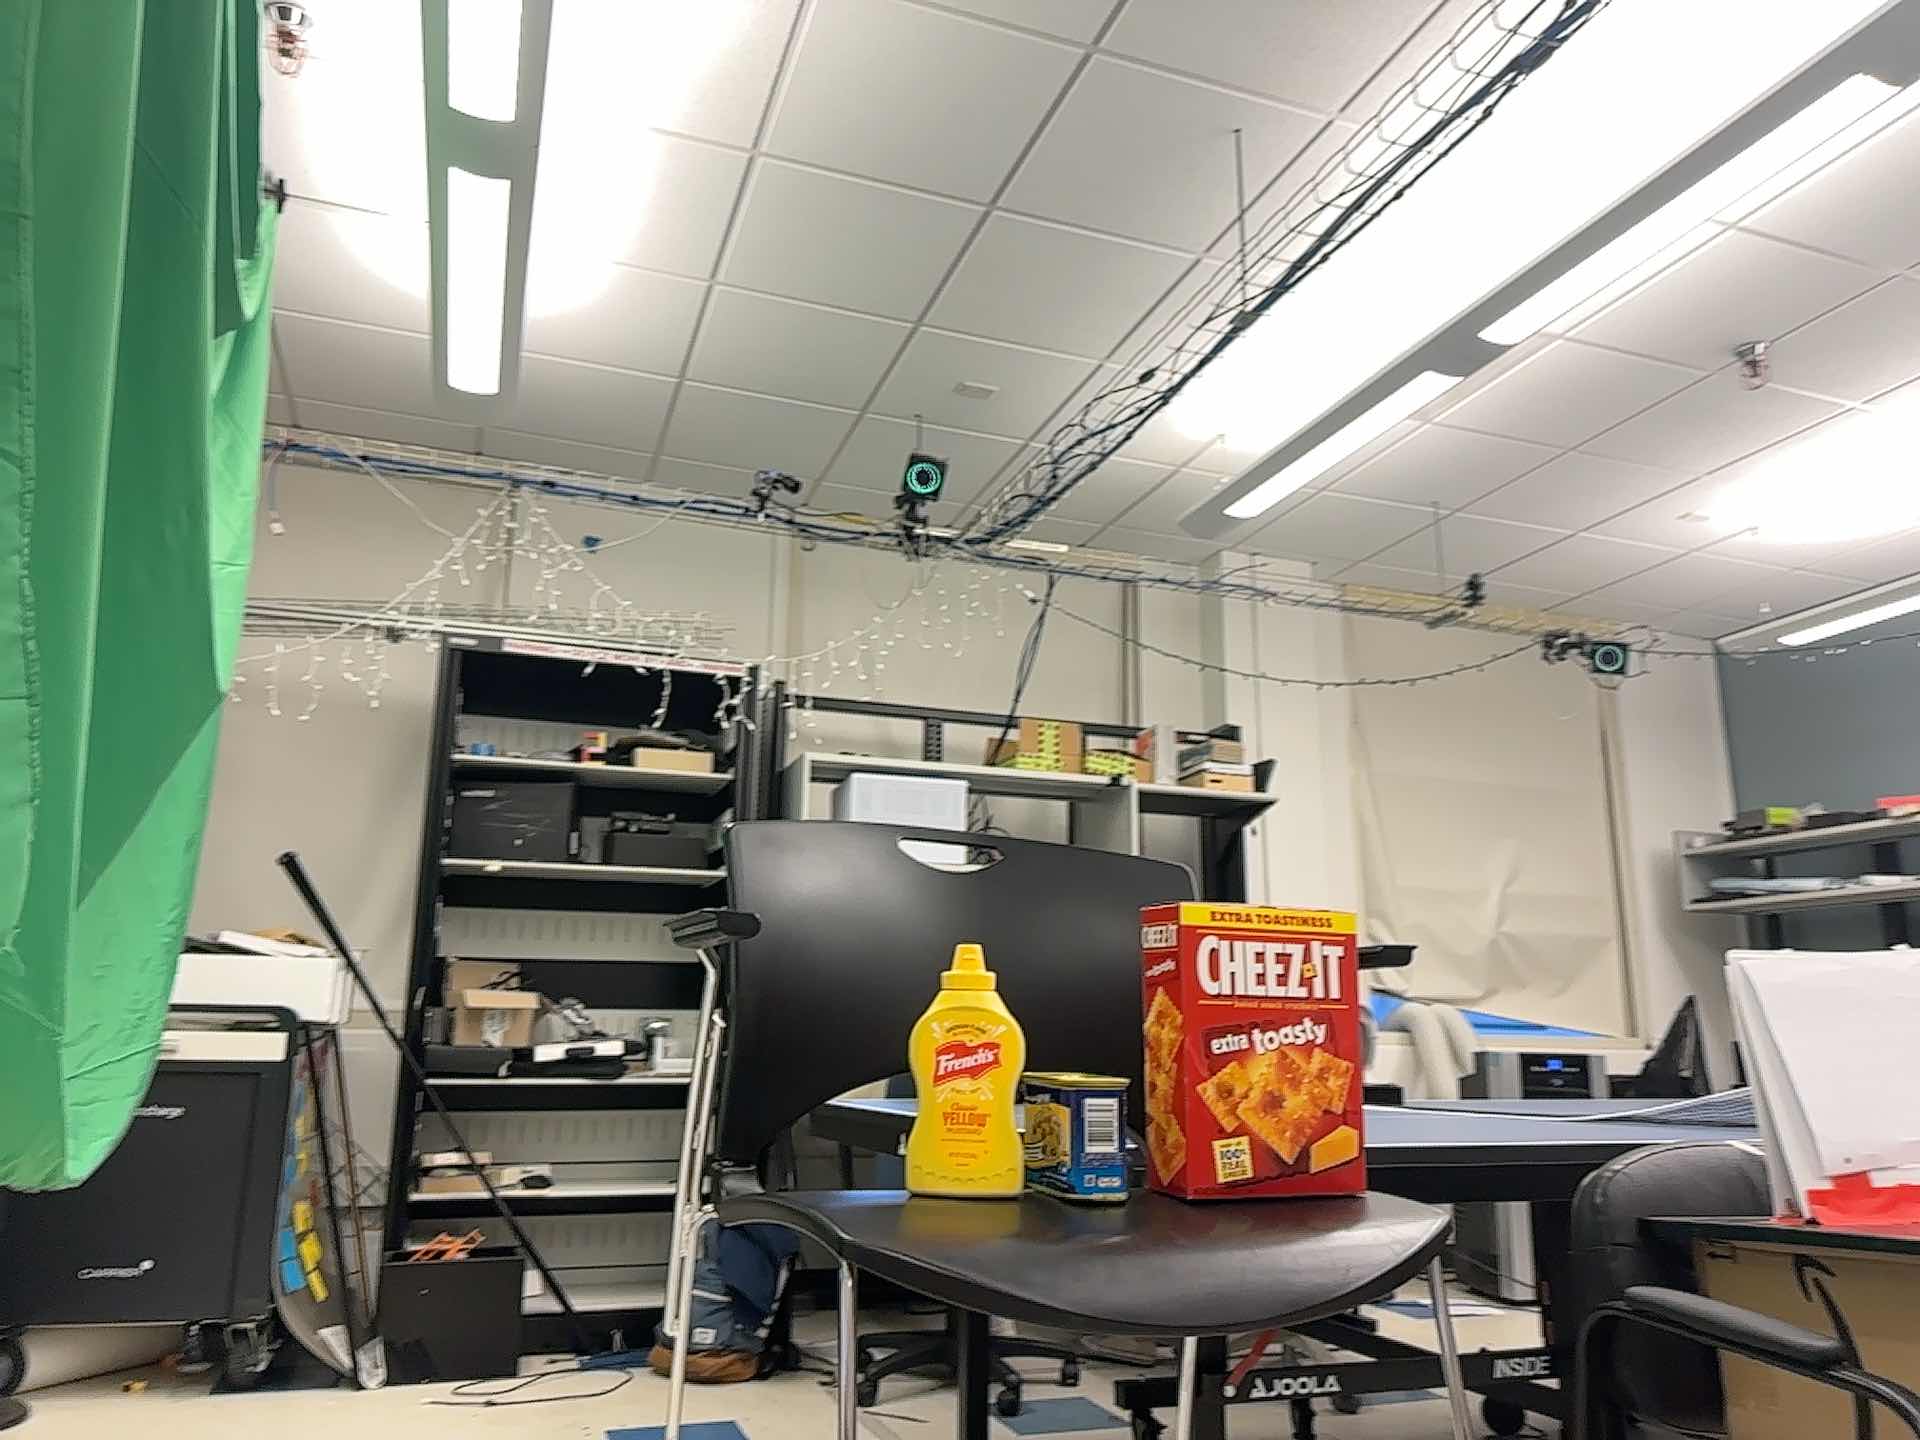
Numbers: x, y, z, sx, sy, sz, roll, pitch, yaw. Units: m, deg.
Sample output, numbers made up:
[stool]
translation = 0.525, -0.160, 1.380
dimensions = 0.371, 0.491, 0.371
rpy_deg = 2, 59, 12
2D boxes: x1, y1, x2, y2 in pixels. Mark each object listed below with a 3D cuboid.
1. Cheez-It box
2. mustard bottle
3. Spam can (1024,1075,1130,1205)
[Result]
[Cheez-It box]
translation = 0.234, 0.257, 1.076
dimensions = 0.159, 0.214, 0.062
rpy_deg = 5, -14, -18
[mustard bottle]
translation = 0.002, 0.262, 1.019
dimensions = 0.092, 0.184, 0.054
rpy_deg = 3, -11, -3
[Spam can]
translation = 0.087, 0.318, 1.032
dimensions = 0.056, 0.083, 0.100
rpy_deg = 6, -12, -16
